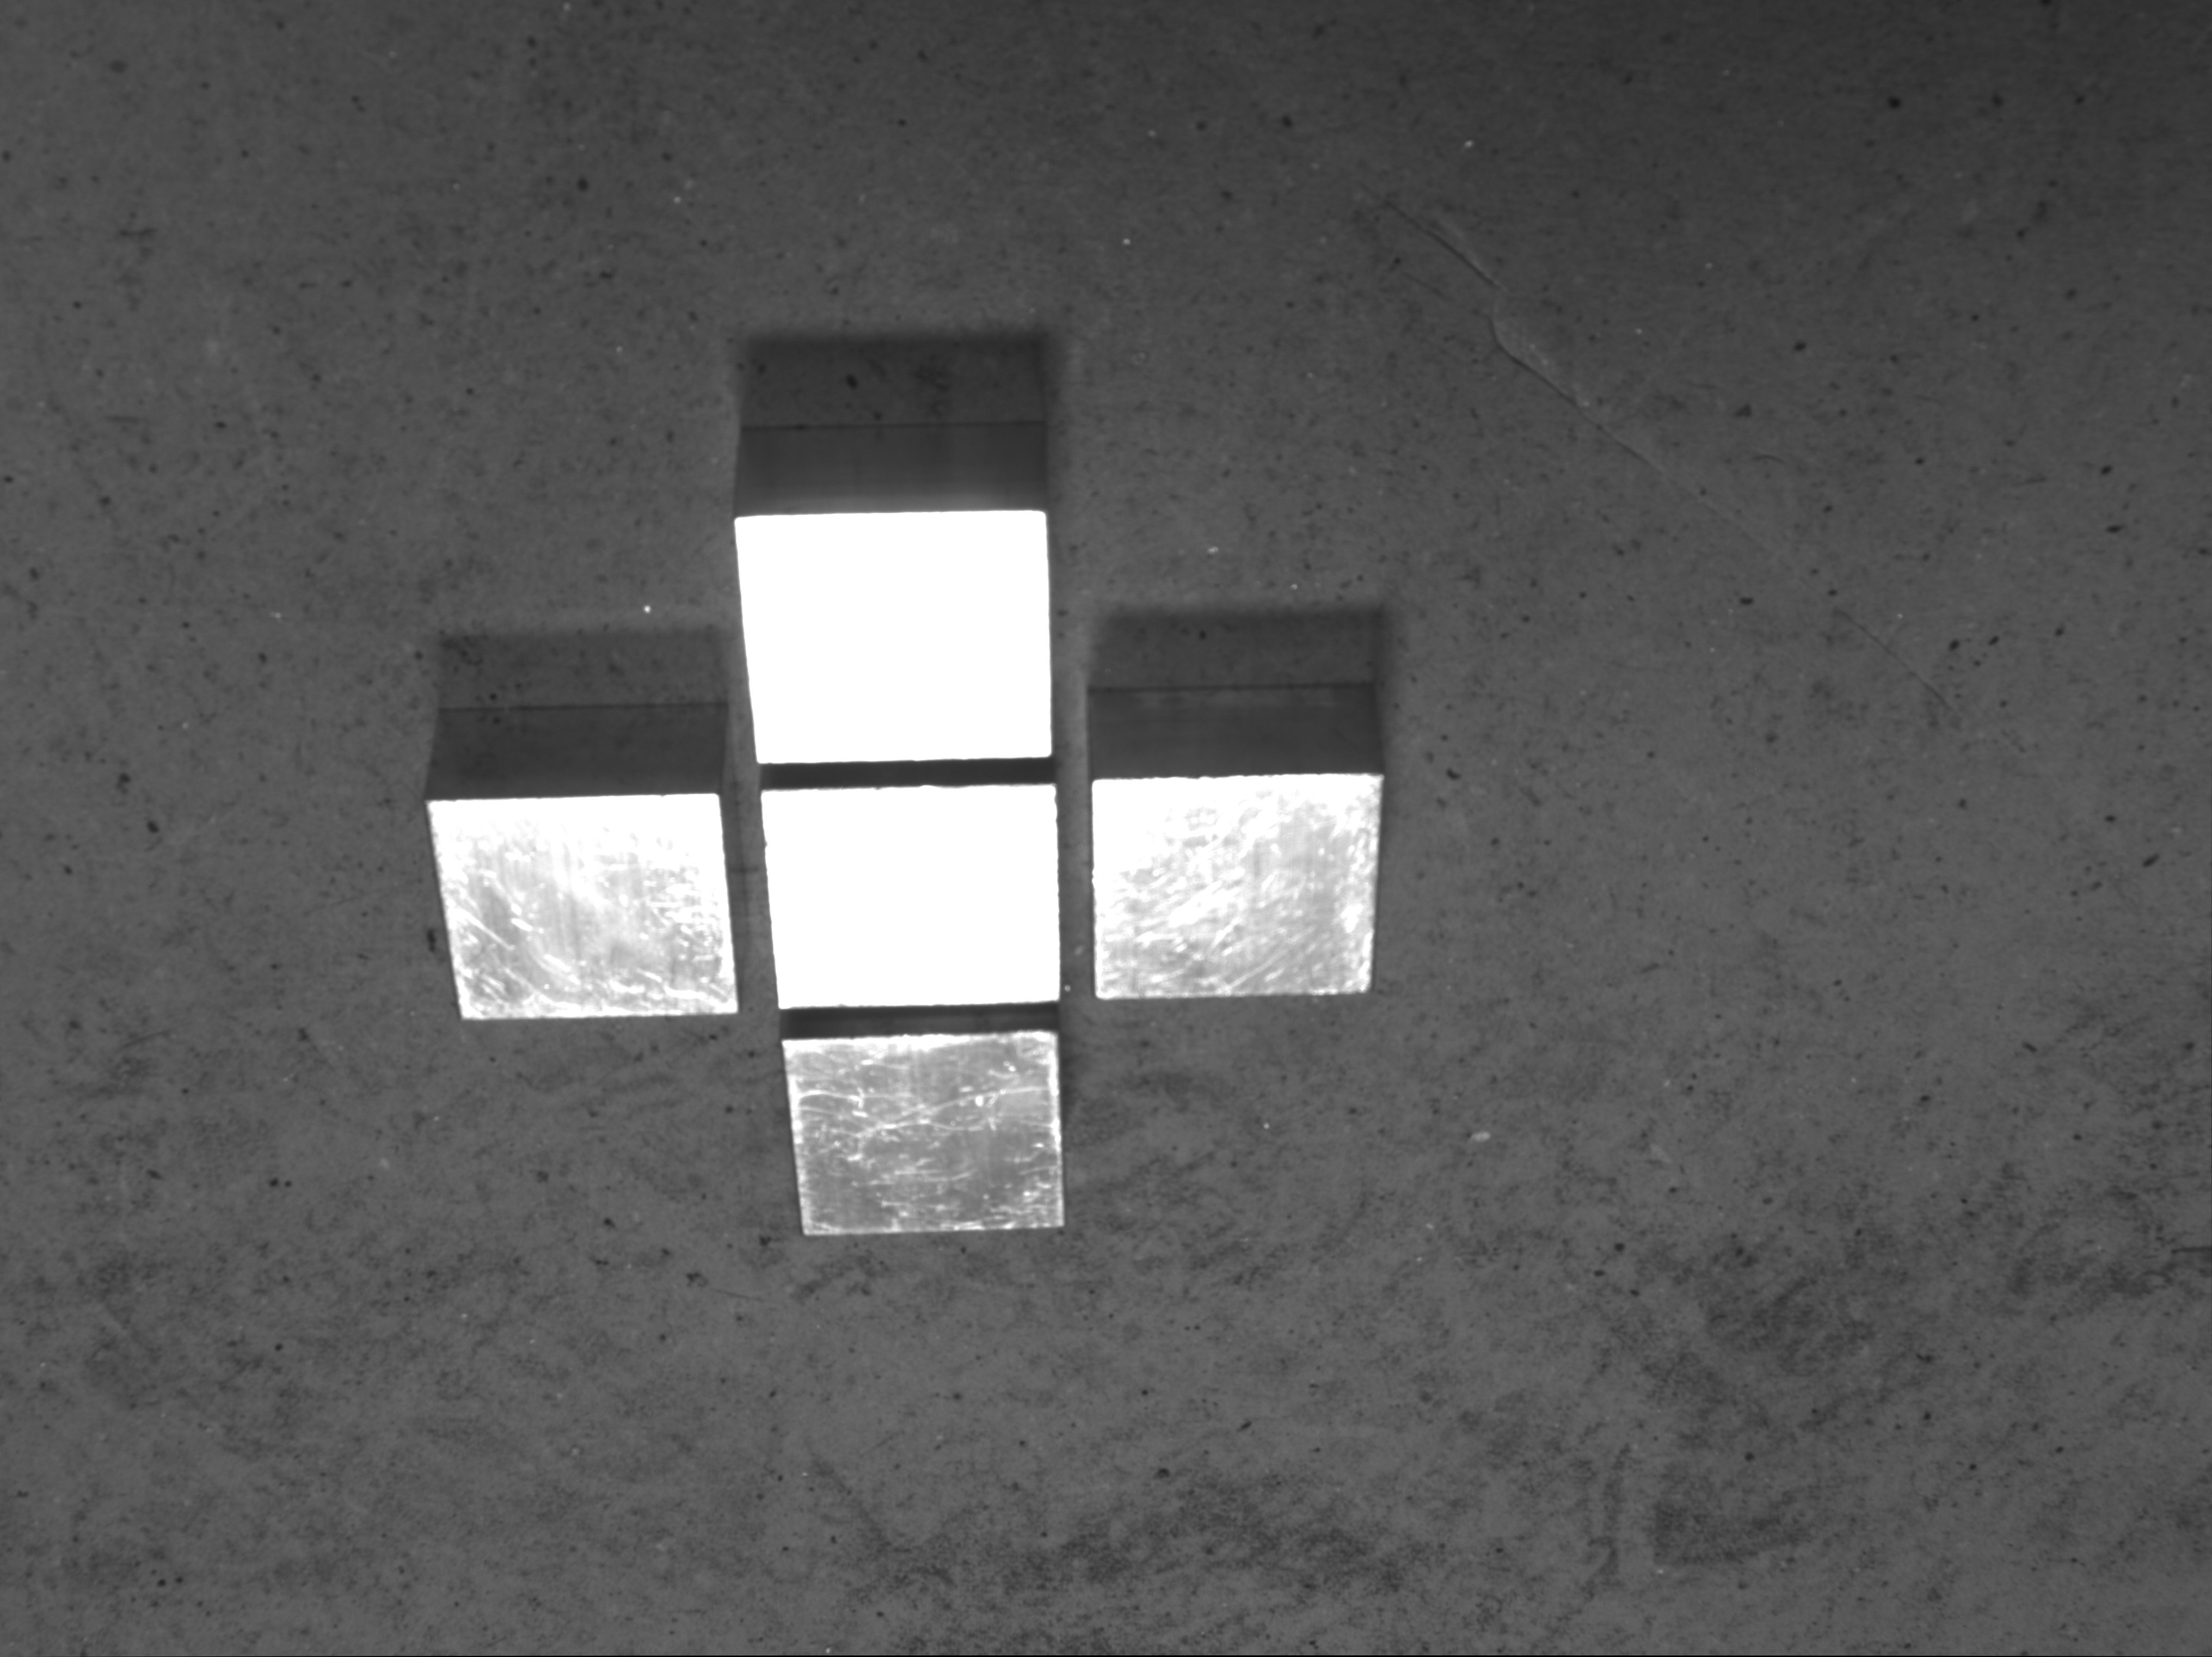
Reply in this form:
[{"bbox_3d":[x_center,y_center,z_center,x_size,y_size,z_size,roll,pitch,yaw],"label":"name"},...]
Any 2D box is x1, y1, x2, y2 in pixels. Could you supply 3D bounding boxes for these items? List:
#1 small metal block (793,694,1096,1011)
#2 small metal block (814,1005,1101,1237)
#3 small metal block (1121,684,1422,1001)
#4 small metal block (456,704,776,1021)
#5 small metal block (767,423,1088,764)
[{"bbox_3d":[-0.027,0.004,0.642,0.050,0.025,0.050,-1,130,-1],"label":"small metal block"},{"bbox_3d":[-0.027,0.048,0.678,0.050,0.025,0.050,-2,130,0],"label":"small metal block"},{"bbox_3d":[0.028,0.003,0.642,0.050,0.025,0.050,-1,130,-1],"label":"small metal block"},{"bbox_3d":[-0.084,0.006,0.641,0.050,0.025,0.050,-1,130,-1],"label":"small metal block"},{"bbox_3d":[-0.029,-0.039,0.605,0.050,0.025,0.050,-1,130,-1],"label":"small metal block"}]
